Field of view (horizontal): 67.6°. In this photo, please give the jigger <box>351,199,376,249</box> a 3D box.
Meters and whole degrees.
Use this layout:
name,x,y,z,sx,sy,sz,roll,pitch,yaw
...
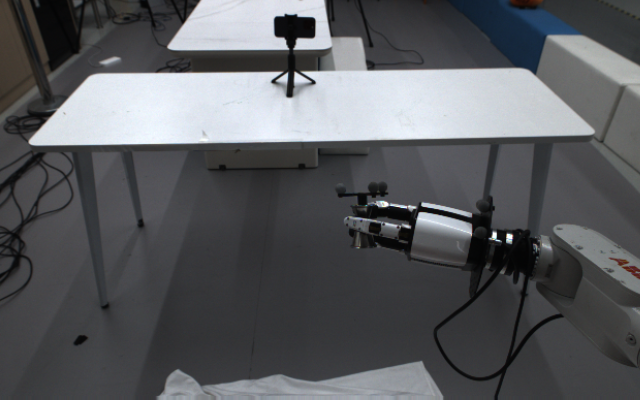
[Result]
name,x,y,z,sx,sy,sz,roll,pitch,yaw
jigger,0.068,0.040,0.778,0.043,0.071,0.043,-2,3,0
